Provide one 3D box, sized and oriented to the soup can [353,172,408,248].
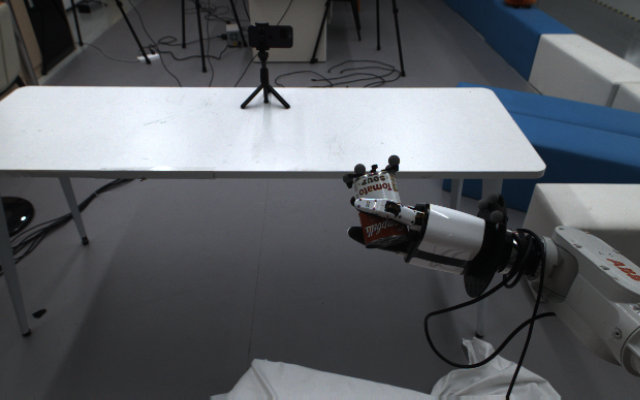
[{"bbox_3d":[0.091,0.015,0.728,0.067,0.067,0.101,-8,74,-14],"label":"soup can"}]
